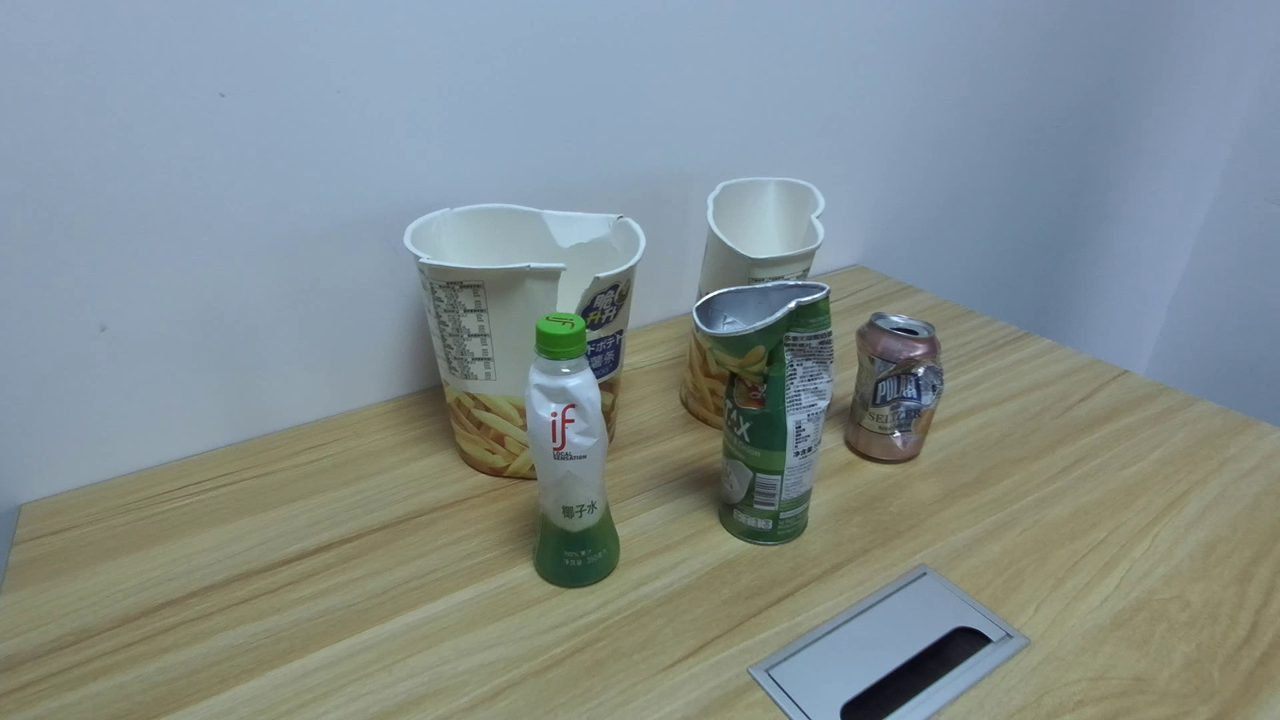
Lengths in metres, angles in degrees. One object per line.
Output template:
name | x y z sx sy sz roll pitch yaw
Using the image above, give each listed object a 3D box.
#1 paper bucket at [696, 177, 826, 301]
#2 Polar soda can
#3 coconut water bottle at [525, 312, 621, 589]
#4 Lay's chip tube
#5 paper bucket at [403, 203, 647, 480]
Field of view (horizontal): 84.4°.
paper bucket | 0.115 -0.050 0.661 0.148 0.199 0.217 -9 28 -14
Polar soda can | 0.222 0.025 0.614 0.071 0.122 0.066 -1 20 -7
coconut water bottle | -0.046 0.061 0.471 0.067 0.187 0.067 -1 26 1
Lay's chip tube | 0.085 0.040 0.495 0.071 0.200 0.078 -33 39 -31
paper bucket | -0.094 -0.018 0.608 0.202 0.197 0.146 5 30 12
